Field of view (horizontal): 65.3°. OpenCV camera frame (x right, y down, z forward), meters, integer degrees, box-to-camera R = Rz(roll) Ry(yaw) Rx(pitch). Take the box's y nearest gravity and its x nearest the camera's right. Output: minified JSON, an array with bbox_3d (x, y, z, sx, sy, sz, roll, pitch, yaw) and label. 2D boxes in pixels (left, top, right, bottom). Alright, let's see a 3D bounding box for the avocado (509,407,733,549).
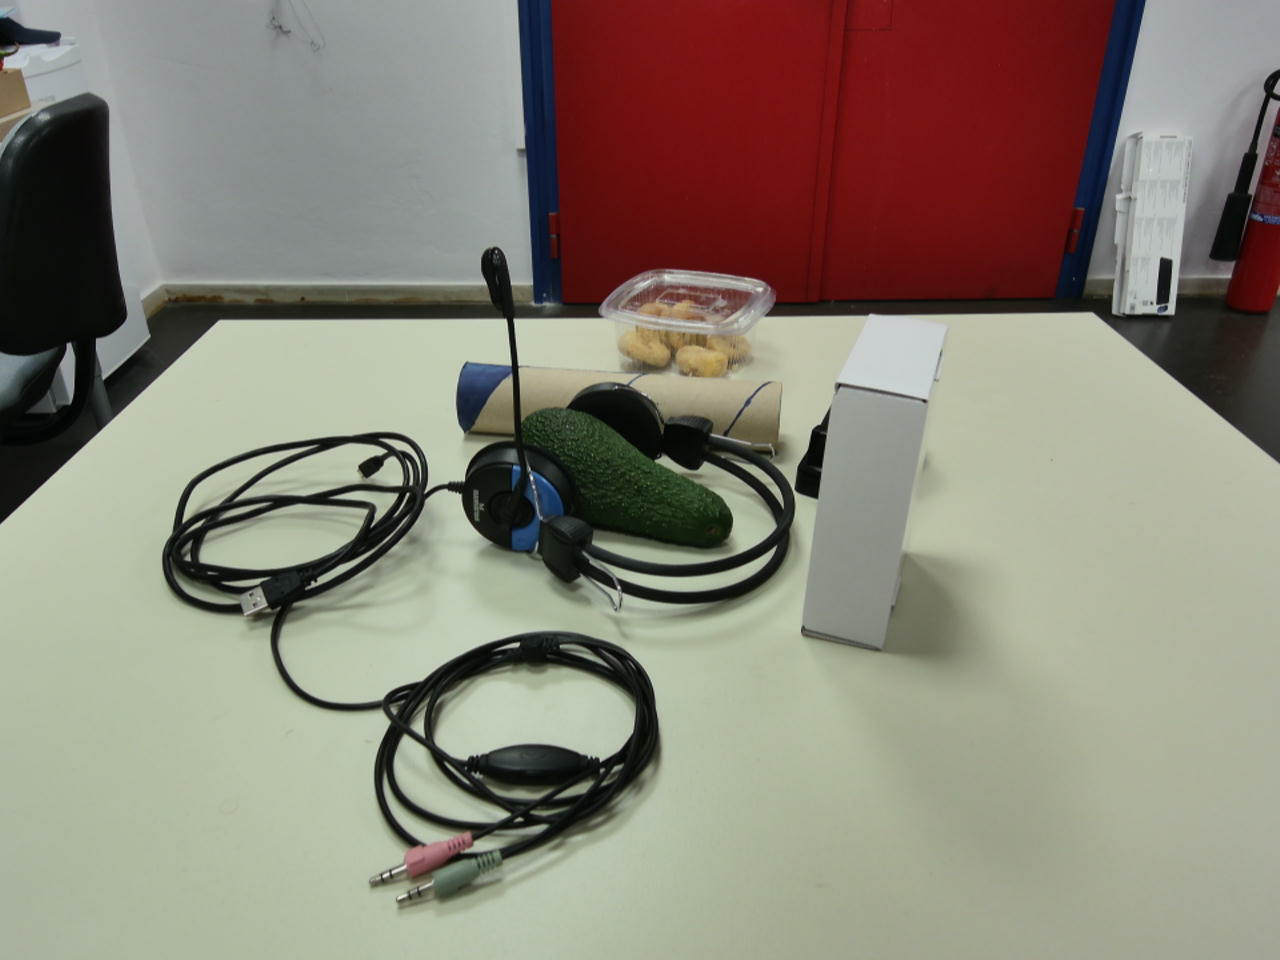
[{"bbox_3d":[-0.010,-0.005,0.576,0.141,0.067,0.063,7,27,13],"label":"avocado"}]
